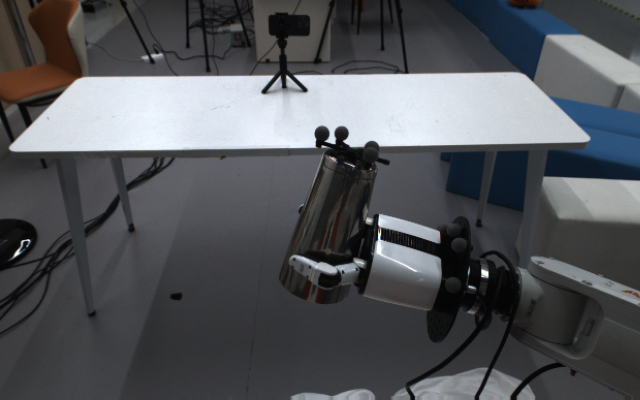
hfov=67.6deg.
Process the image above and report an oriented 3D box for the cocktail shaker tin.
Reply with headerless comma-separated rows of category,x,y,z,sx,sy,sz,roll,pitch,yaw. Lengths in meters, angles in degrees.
cocktail shaker tin,0.015,0.029,0.590,0.093,0.170,0.093,14,20,-5
